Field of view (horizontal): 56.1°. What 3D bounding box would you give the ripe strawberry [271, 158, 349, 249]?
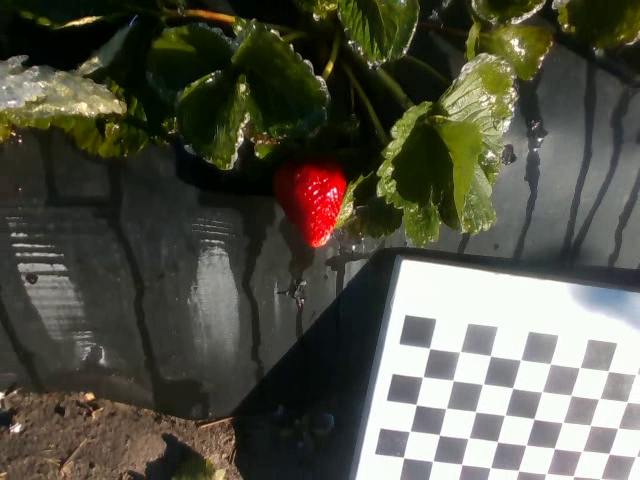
[{"bbox_3d":[-0.004,-0.018,0.308,0.041,0.053,0.047,2,-22,-5],"label":"ripe strawberry"}]
